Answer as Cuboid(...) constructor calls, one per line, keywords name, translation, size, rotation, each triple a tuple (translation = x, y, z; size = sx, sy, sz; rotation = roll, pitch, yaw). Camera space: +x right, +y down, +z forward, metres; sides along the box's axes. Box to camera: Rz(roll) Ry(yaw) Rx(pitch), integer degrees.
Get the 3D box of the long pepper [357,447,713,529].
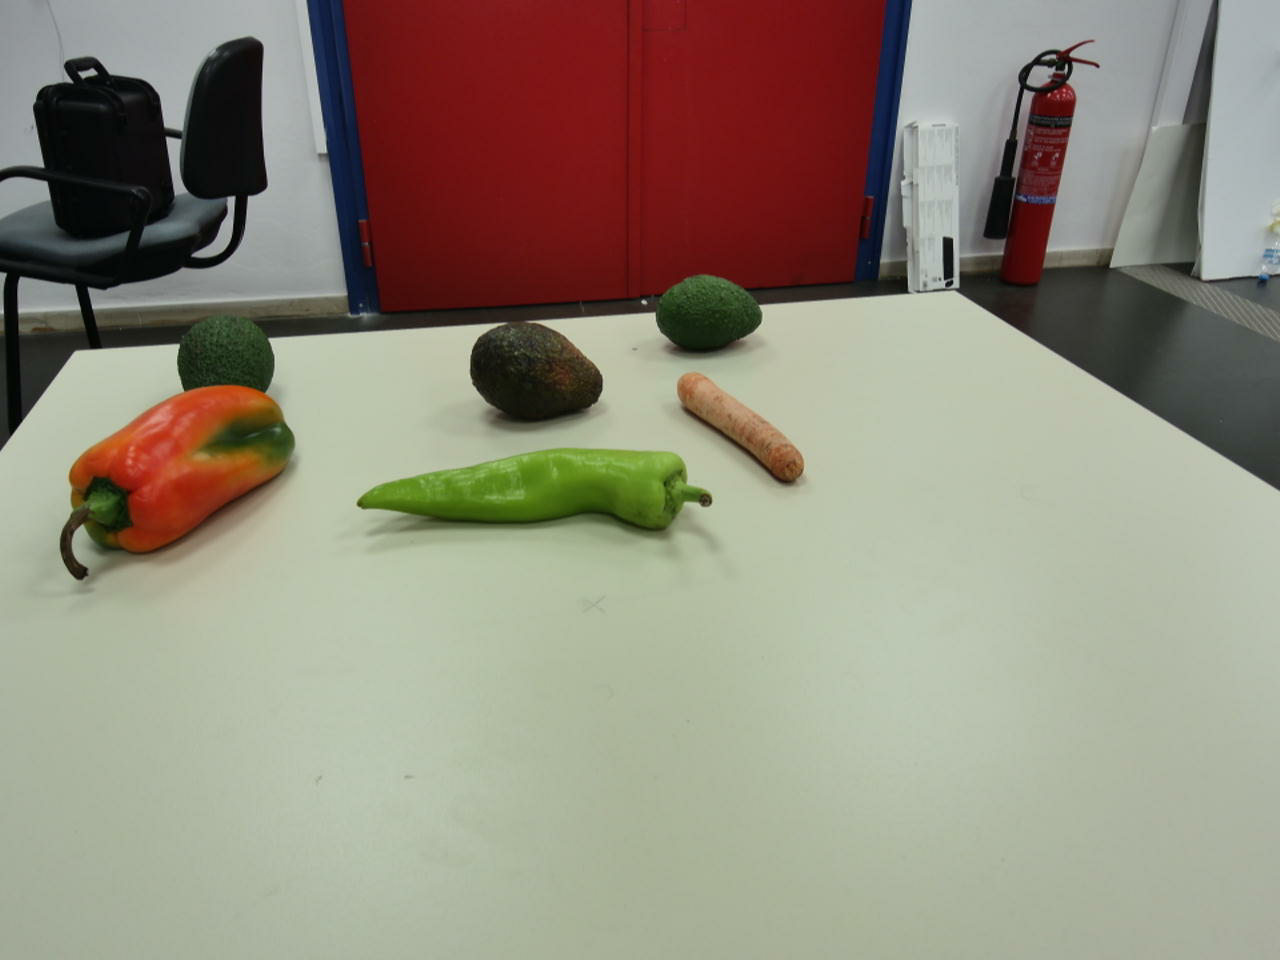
Cuboid(name="long pepper", translation=(-0.058, 0.004, 0.591), size=(0.205, 0.045, 0.065), rotation=(2, 27, 3))
